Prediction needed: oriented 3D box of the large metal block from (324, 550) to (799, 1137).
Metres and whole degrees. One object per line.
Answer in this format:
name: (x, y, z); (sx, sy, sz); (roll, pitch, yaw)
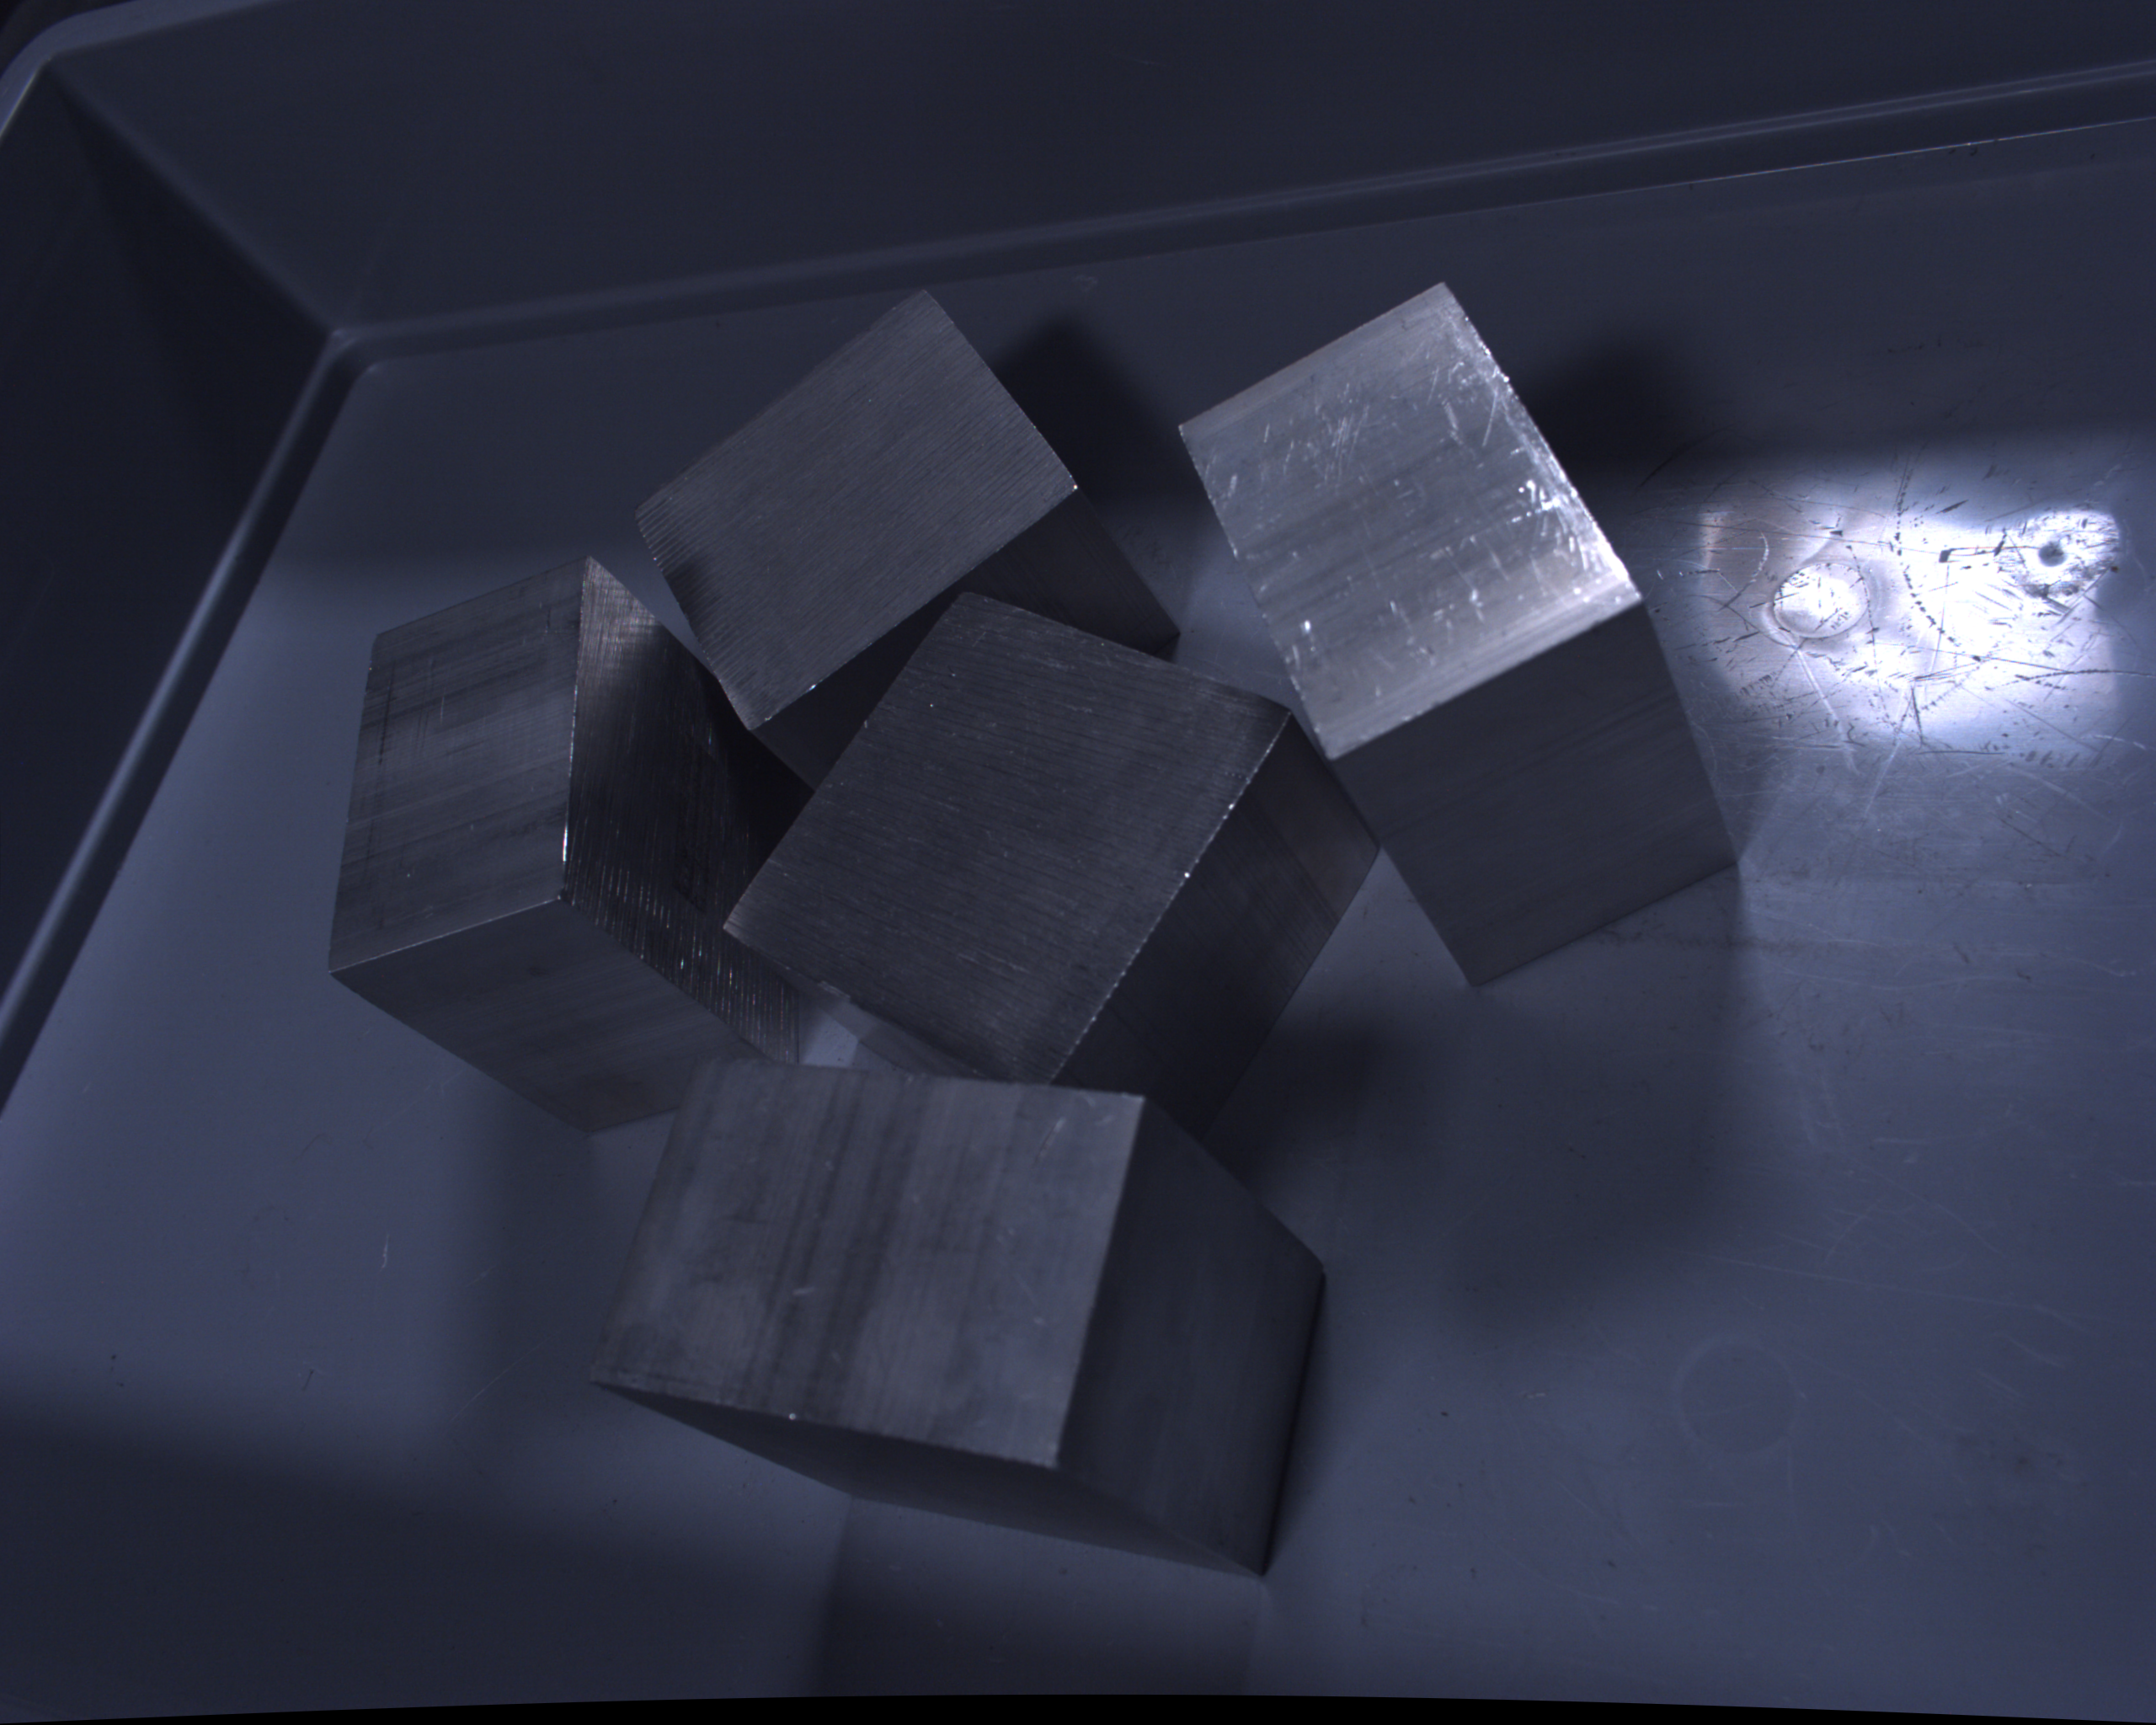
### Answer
large metal block: (-0.099, -0.001, 0.420); (0.050, 0.080, 0.080); (-17, 55, 18)

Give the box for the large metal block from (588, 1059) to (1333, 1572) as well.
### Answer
large metal block: (-0.015, 0.072, 0.332); (0.080, 0.080, 0.050); (1, 62, 28)

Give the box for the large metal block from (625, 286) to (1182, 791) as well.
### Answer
large metal block: (-0.038, -0.063, 0.444); (0.080, 0.050, 0.080); (-36, 51, 4)

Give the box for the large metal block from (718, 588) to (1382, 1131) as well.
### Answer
large metal block: (-0.004, 0.005, 0.386); (0.080, 0.050, 0.080); (25, 75, 36)

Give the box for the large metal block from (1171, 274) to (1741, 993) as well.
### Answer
large metal block: (0.065, -0.037, 0.356); (0.050, 0.080, 0.080); (-27, 53, 11)
